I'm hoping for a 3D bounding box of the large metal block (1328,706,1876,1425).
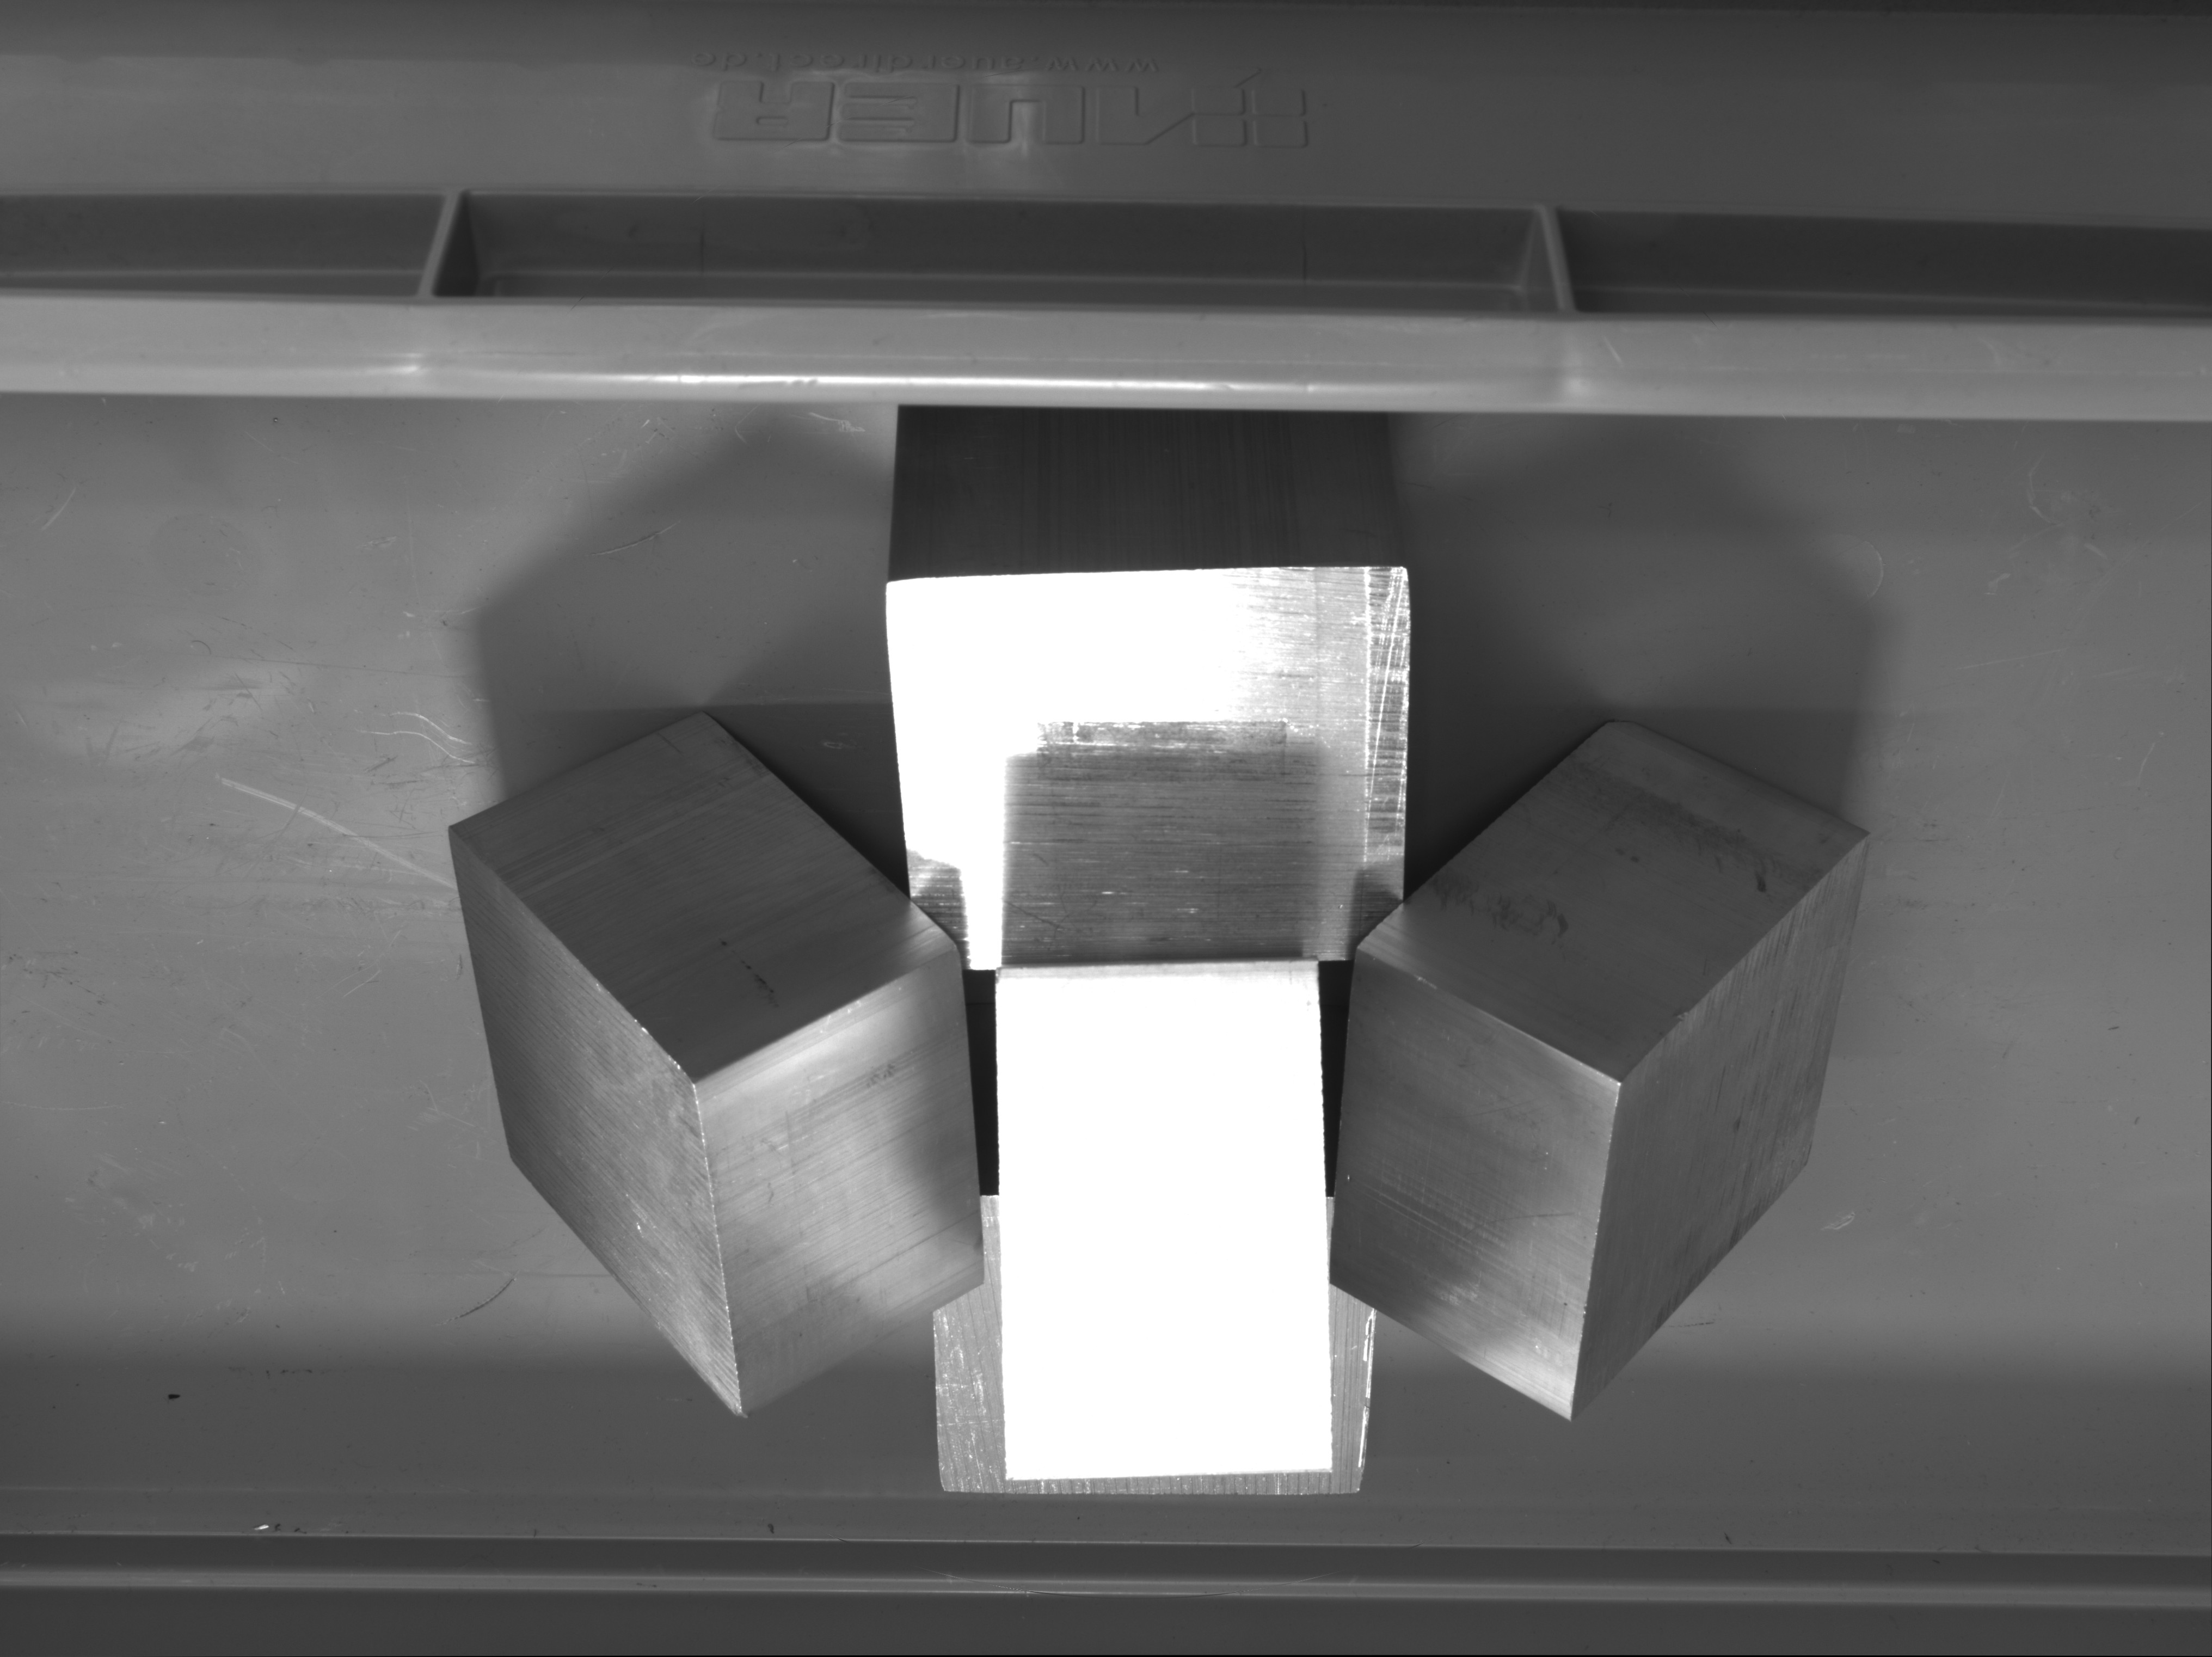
[{"bbox_3d":[0.084,0.040,0.626,0.050,0.080,0.080,28,137,28],"label":"large metal block"}]

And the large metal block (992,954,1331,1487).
[{"bbox_3d":[0.008,0.063,0.603,0.050,0.080,0.080,-1,86,0],"label":"large metal block"}]

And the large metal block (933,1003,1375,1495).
[{"bbox_3d":[0.009,0.079,0.688,0.080,0.050,0.080,0,130,0],"label":"large metal block"}]

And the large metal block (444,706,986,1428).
[{"bbox_3d":[-0.066,0.040,0.625,0.050,0.080,0.080,-26,136,-26],"label":"large metal block"}]

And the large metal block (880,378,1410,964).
[{"bbox_3d":[0.007,-0.025,0.597,0.080,0.050,0.080,-1,130,1],"label":"large metal block"}]
